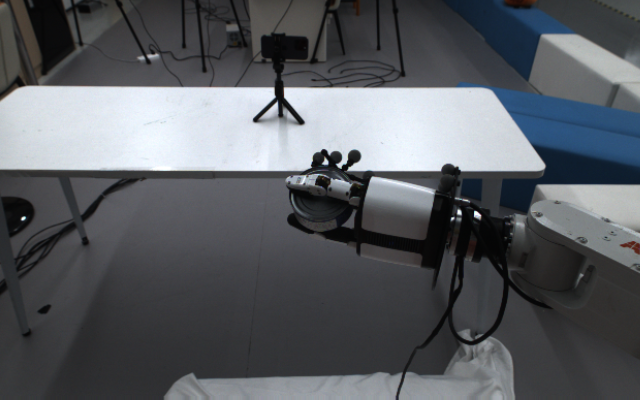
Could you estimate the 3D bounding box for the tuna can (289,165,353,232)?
[{"bbox_3d":[0.004,-0.003,0.648,0.085,0.034,0.085,-4,56,6],"label":"tuna can"}]
